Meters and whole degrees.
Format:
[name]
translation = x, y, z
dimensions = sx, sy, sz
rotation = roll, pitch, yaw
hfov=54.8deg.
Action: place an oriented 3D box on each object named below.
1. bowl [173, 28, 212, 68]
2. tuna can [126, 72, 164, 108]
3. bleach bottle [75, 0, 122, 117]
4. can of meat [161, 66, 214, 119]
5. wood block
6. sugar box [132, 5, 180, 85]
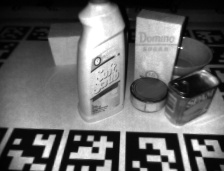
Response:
[bowl]
translation = 0.182, -0.094, 0.589
dimensions = 0.161, 0.055, 0.161
rotation = -3, 43, 3
[tuna can]
translation = 0.073, 0.009, 0.494
dimensions = 0.086, 0.034, 0.085
rotation = -1, 47, 1
[bleach bottle]
translation = -0.031, -0.052, 0.407
dimensions = 0.103, 0.252, 0.067
rotation = -18, 45, -15
[can of meat]
translation = 0.156, 0.014, 0.460
dimensions = 0.102, 0.084, 0.057
rotation = -20, 43, -21
[wood block]
translation = -0.074, -0.139, 0.619
dimensions = 0.207, 0.090, 0.090
rotation = -5, 48, -6
[sugar box]
translation = 0.096, -0.084, 0.488
dimensions = 0.092, 0.178, 0.045
rotation = 13, 48, 20
